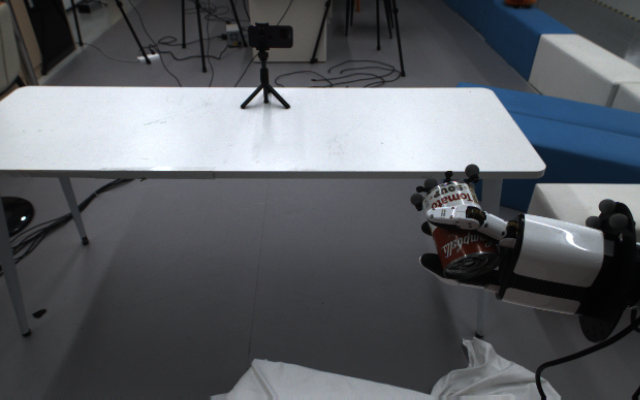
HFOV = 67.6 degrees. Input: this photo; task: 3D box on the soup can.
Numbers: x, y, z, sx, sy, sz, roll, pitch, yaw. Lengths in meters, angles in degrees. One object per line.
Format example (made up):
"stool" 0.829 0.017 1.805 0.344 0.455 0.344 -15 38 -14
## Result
"soup can" 0.172 0.035 0.589 0.067 0.067 0.101 -5 57 -10
